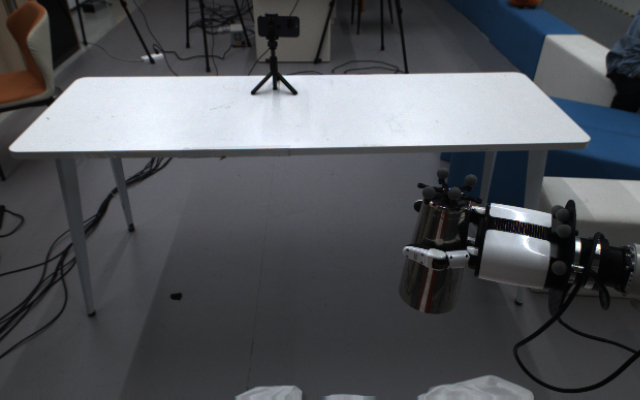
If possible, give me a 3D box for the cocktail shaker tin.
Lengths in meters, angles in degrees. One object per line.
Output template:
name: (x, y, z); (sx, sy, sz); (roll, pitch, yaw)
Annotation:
cocktail shaker tin: (0.175, 0.070, 0.711); (0.093, 0.170, 0.093); (3, 30, -1)
